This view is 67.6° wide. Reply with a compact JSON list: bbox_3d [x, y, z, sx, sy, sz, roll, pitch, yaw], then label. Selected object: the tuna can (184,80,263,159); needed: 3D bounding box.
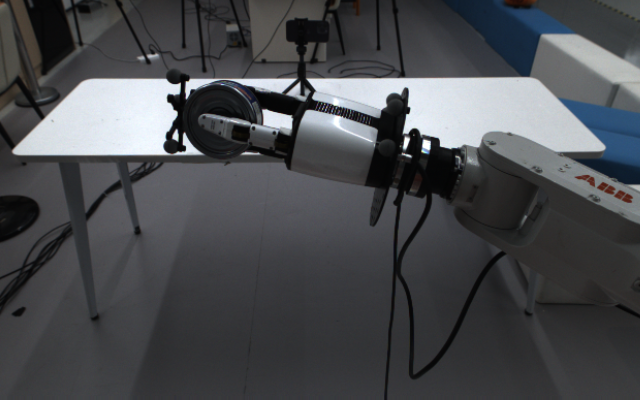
[{"bbox_3d":[-0.107,-0.091,0.547,0.085,0.085,0.034,4,18,3],"label":"tuna can"}]
